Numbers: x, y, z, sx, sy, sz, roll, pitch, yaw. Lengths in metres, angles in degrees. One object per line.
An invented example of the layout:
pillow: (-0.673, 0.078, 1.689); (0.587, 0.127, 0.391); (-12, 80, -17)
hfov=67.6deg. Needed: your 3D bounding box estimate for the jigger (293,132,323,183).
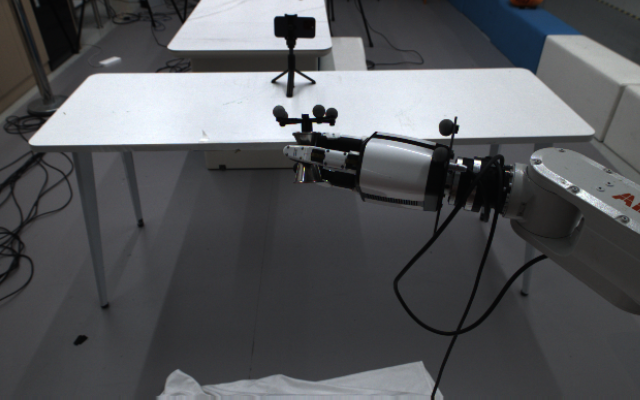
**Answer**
jigger: (-0.017, -0.058, 0.660); (0.043, 0.071, 0.043); (-2, 3, 0)
